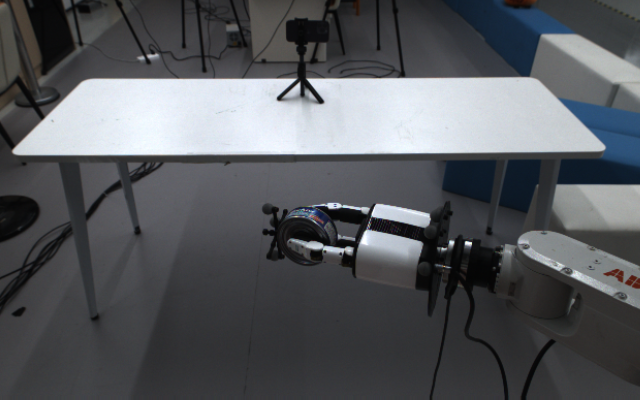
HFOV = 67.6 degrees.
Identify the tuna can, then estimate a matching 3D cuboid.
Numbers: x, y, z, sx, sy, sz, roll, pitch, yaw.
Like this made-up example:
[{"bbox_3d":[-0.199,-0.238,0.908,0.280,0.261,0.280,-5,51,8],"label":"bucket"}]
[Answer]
[{"bbox_3d":[-0.017,0.052,0.713,0.085,0.085,0.034,12,28,14],"label":"tuna can"}]
